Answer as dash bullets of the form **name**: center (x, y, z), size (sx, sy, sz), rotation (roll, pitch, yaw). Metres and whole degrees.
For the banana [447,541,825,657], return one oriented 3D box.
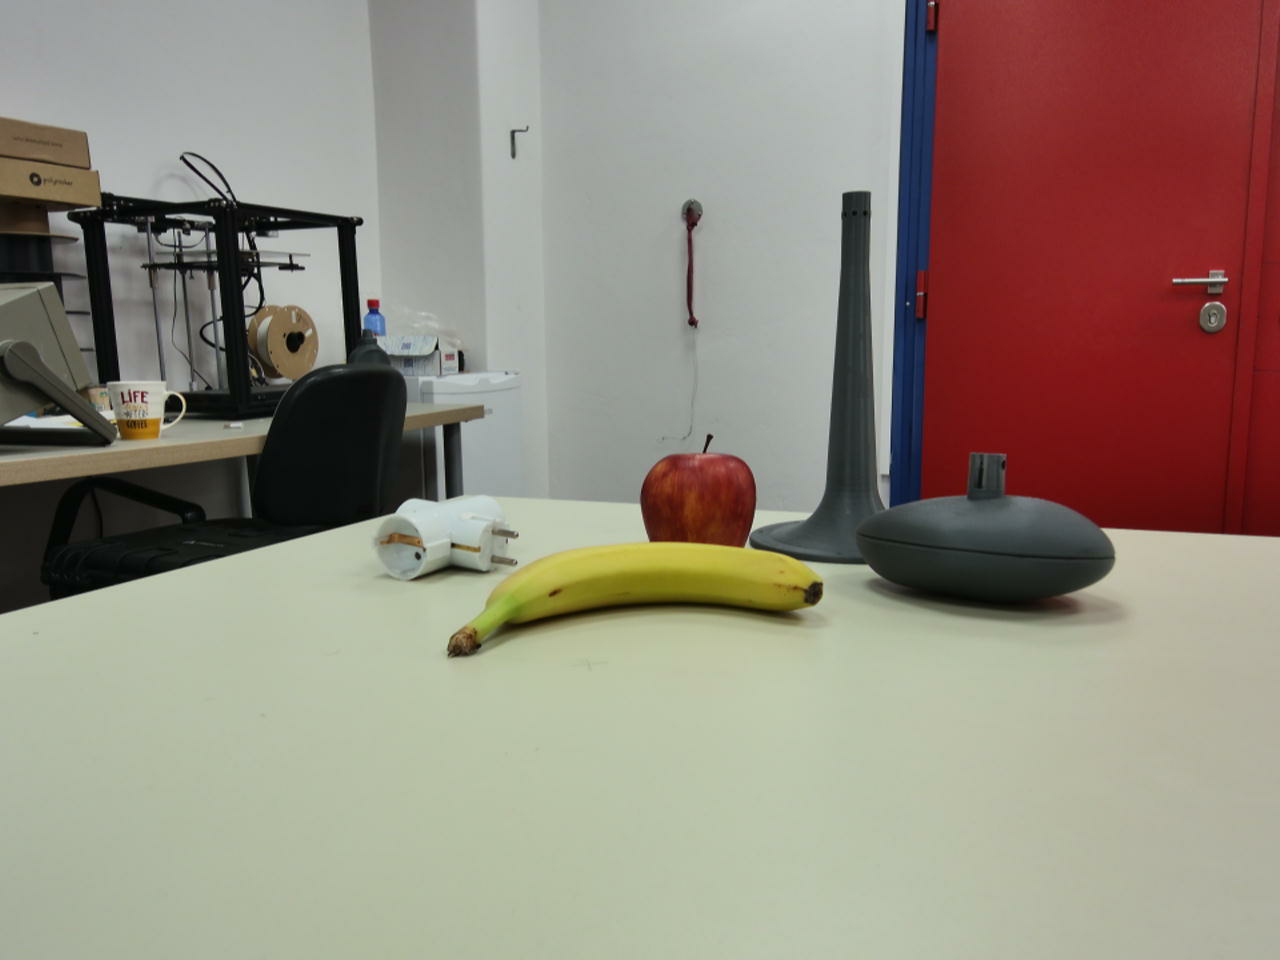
- **banana**: center (-0.006, 0.058, 0.543), size (0.196, 0.041, 0.094), rotation (-1, 6, -12)
